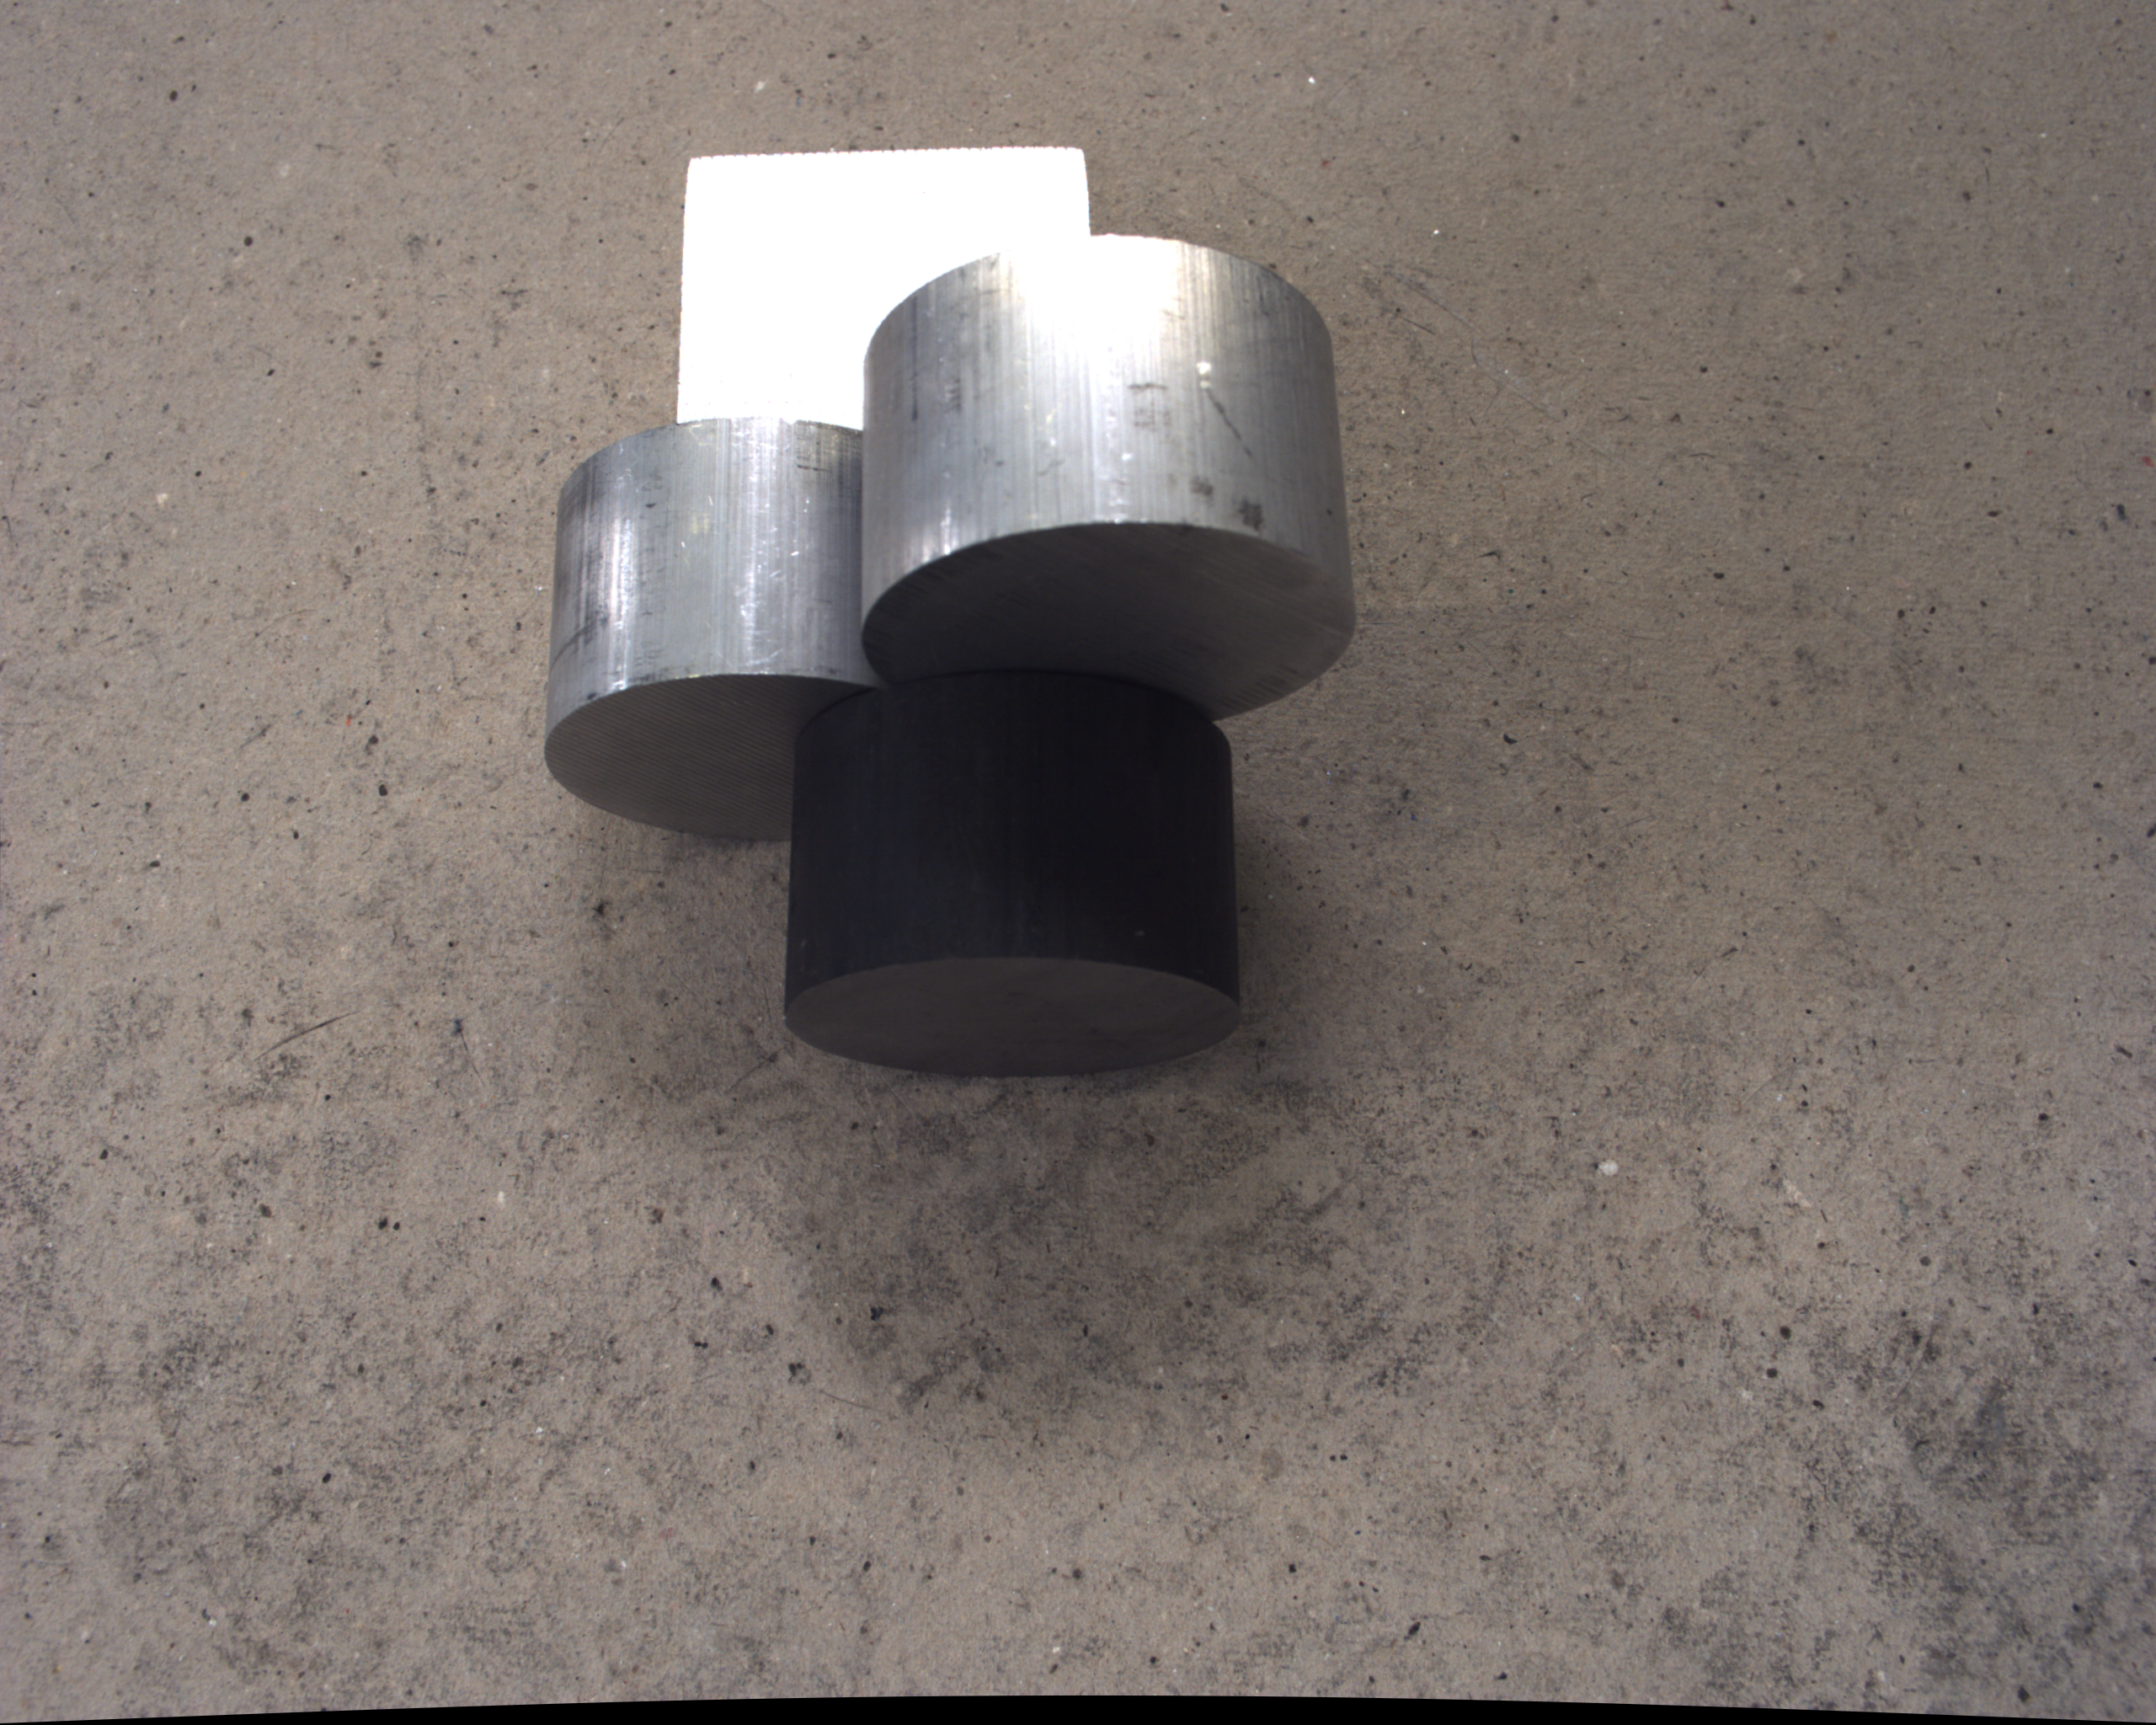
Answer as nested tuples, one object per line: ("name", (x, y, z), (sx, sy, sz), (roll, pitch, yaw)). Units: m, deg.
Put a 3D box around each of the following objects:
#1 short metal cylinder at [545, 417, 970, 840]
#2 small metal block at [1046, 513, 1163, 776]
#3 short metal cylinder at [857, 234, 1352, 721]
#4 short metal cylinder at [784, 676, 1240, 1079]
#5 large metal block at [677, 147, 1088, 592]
("short metal cylinder", (-0.058, -0.041, 0.396), (0.081, 0.080, 0.050), (-2, 70, -1))
("small metal block", (0.007, -0.036, 0.412), (0.025, 0.050, 0.050), (1, 70, 0))
("short metal cylinder", (0.003, -0.060, 0.350), (0.081, 0.080, 0.050), (-2, 70, -1))
("short metal cylinder", (-0.012, 0.005, 0.379), (0.081, 0.080, 0.050), (0, 70, 0))
("large metal block", (-0.038, -0.098, 0.433), (0.081, 0.050, 0.080), (-2, 70, -1))
